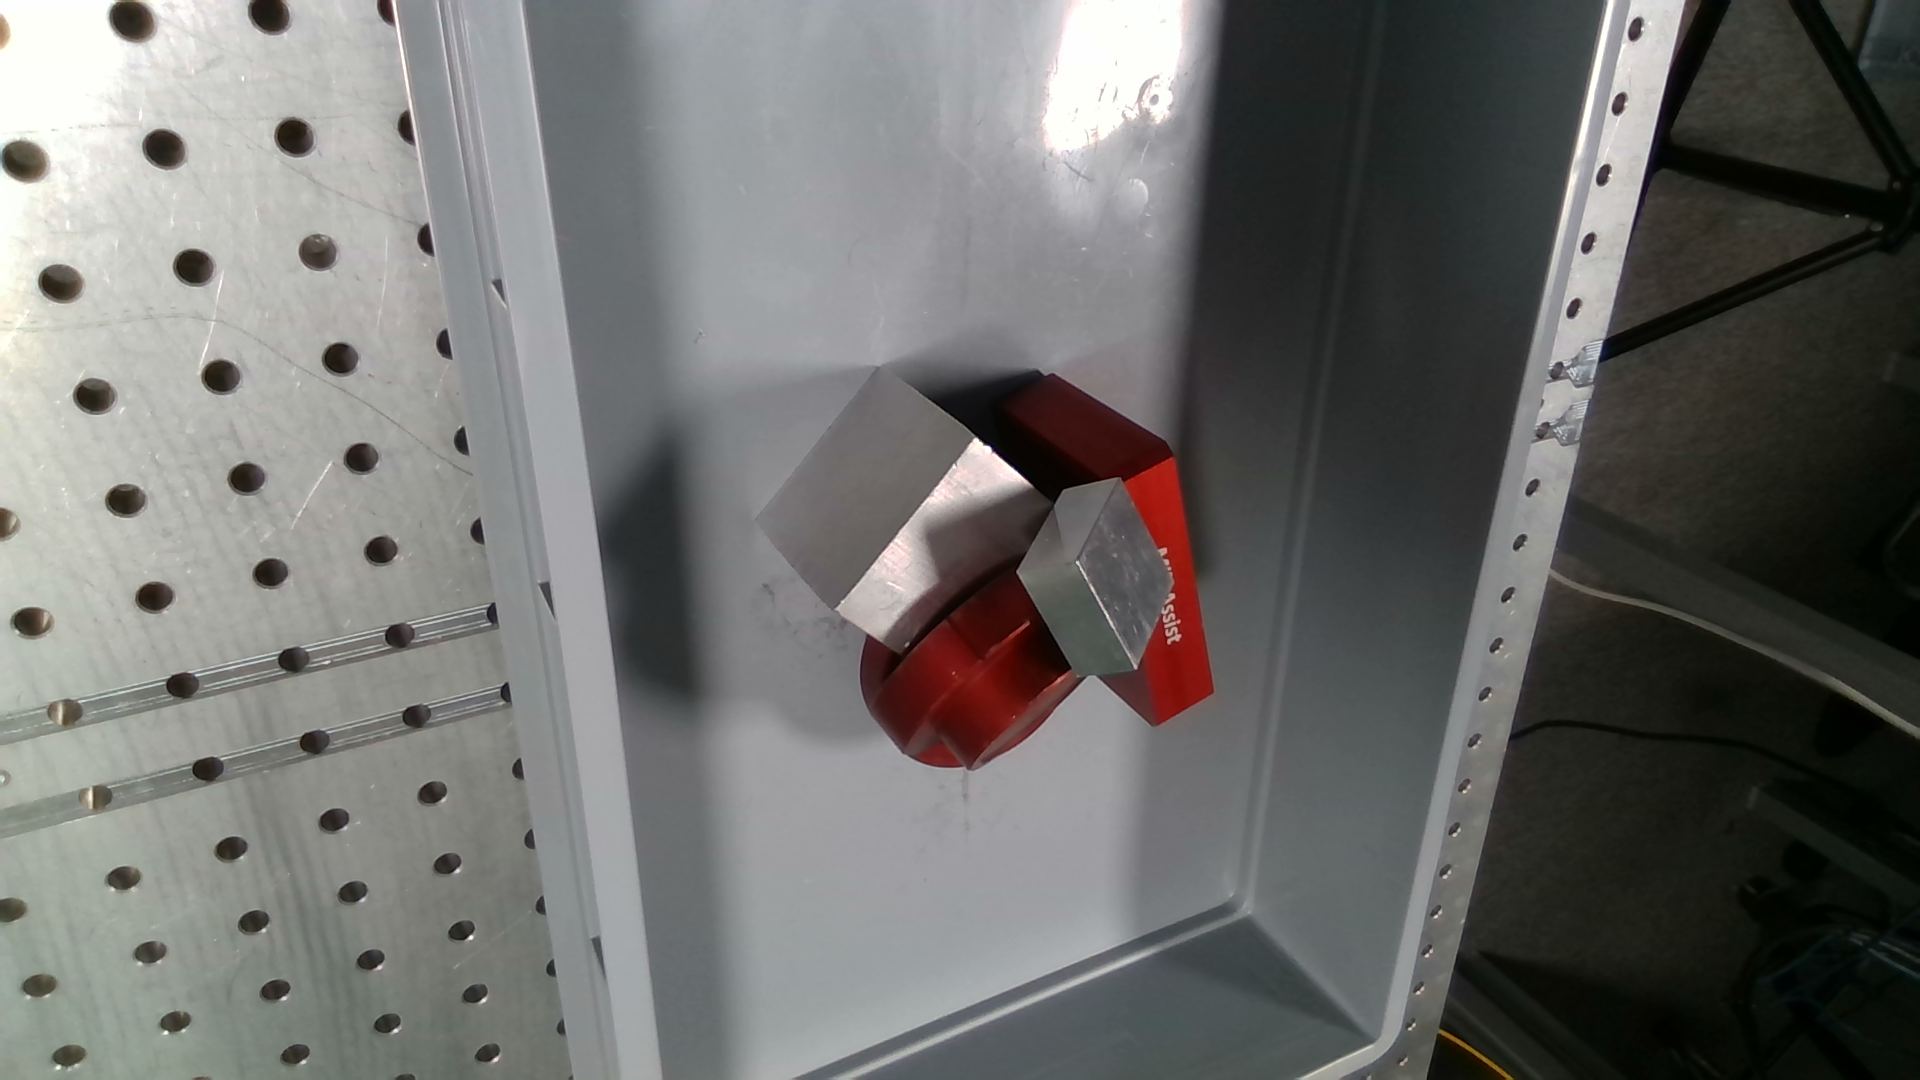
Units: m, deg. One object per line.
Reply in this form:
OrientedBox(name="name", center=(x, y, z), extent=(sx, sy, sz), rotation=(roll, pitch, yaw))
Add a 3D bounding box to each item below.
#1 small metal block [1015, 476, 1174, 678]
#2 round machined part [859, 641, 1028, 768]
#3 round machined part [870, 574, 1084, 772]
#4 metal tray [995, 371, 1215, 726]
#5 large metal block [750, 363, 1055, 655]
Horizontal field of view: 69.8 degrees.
OrientedBox(name="small metal block", center=(0.050, 0.013, 0.498), extent=(0.050, 0.025, 0.050), rotation=(59, 40, -25))
OrientedBox(name="round machined part", center=(0.000, 0.046, 0.595), extent=(0.098, 0.042, 0.098), rotation=(-14, 122, -25))
OrientedBox(name="round machined part", center=(0.016, 0.052, 0.532), extent=(0.098, 0.042, 0.098), rotation=(-39, 167, -11))
OrientedBox(name="metal tray", center=(0.060, 0.004, 0.576), extent=(0.030, 0.090, 0.130), rotation=(-28, 126, -16))
OrientedBox(name="large metal block", center=(-0.023, -0.010, 0.525), extent=(0.080, 0.080, 0.050), rotation=(-51, 129, 2))
